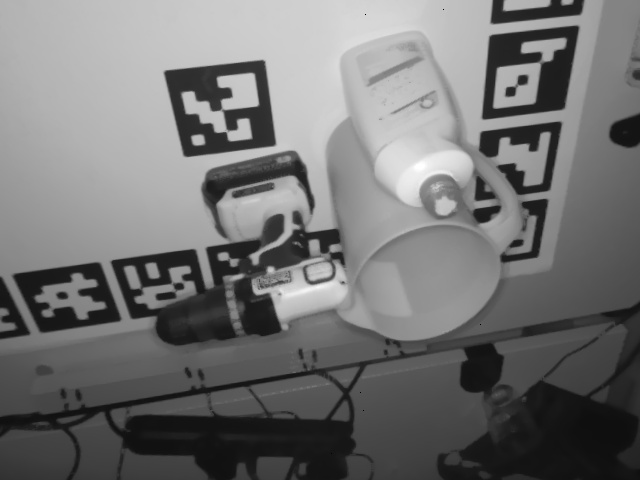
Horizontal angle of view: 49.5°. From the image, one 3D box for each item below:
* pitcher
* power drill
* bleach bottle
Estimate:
[{"bbox_3d":[0.102,-0.019,0.679,0.188,0.243,0.133,-30,124,11],"label":"pitcher"},{"bbox_3d":[-0.064,0.014,0.681,0.184,0.188,0.057,-9,124,3],"label":"power drill"},{"bbox_3d":[0.108,-0.091,0.605,0.103,0.252,0.067,-14,126,0],"label":"bleach bottle"}]
